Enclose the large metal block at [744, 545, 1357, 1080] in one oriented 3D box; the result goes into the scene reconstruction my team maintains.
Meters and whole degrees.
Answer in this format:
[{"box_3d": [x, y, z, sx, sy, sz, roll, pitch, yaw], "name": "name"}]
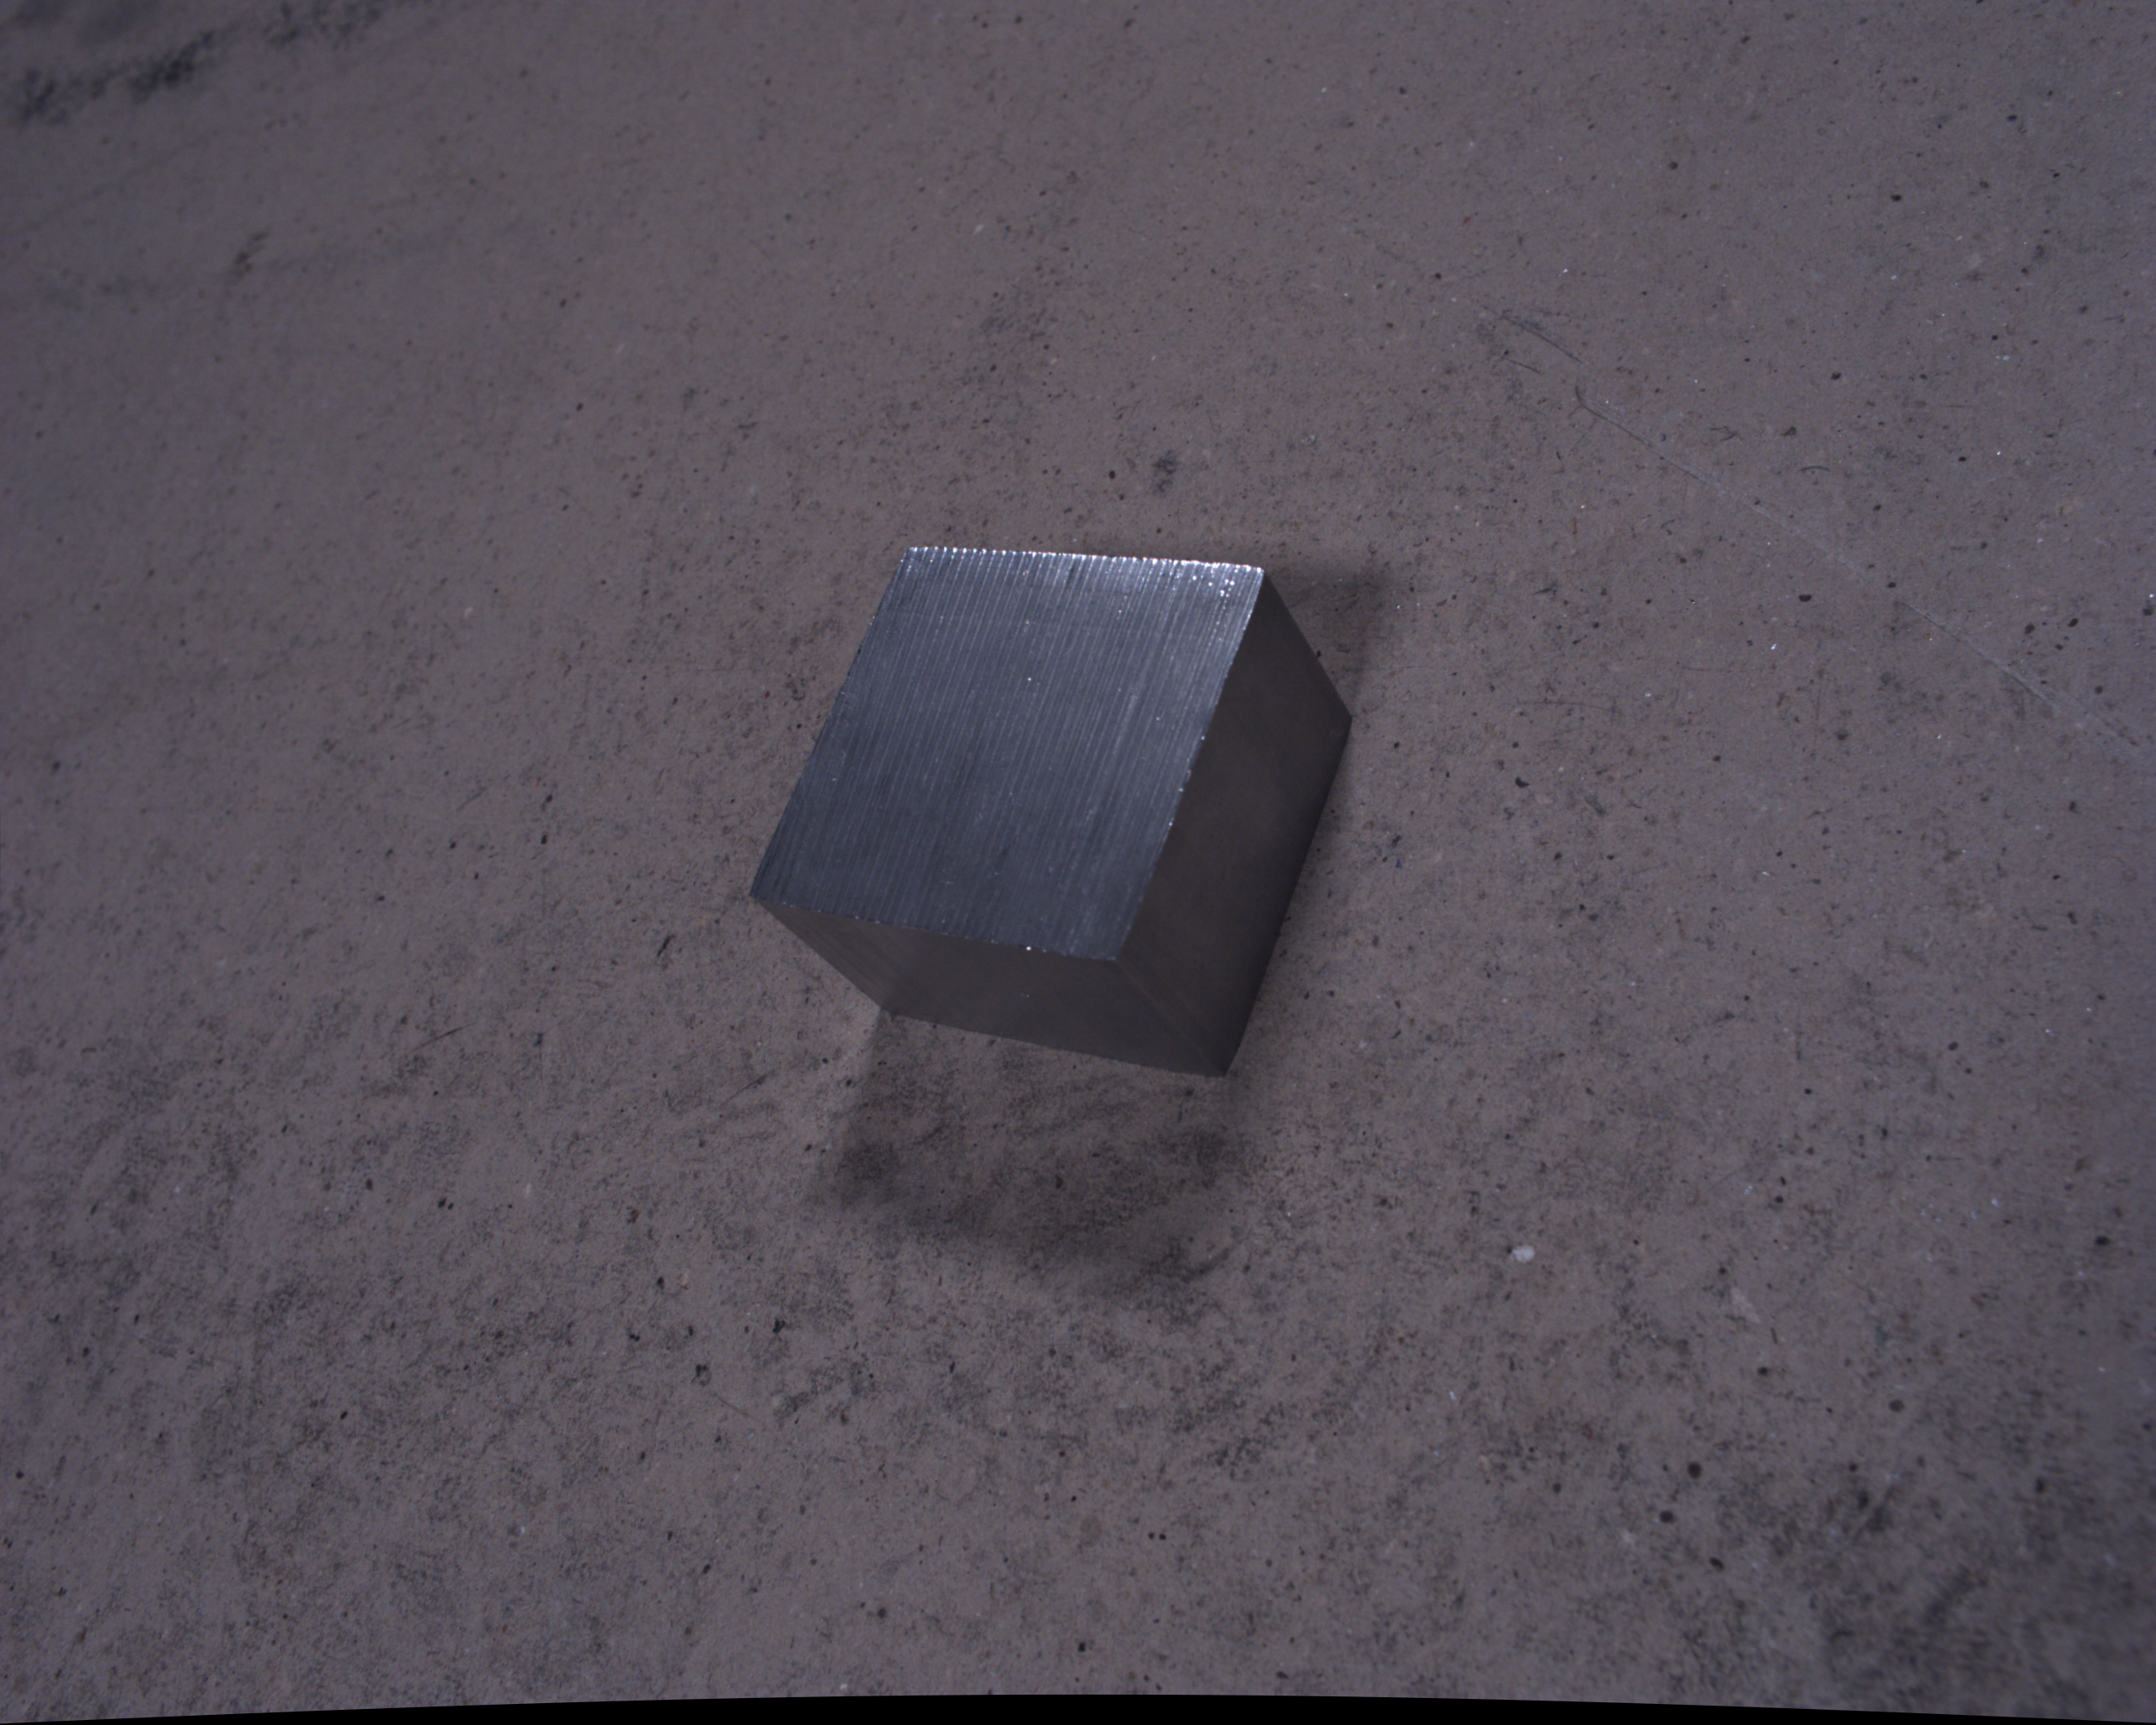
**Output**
[{"box_3d": [-0.003, -0.011, 0.397, 0.080, 0.050, 0.080, 8, 66, 31], "name": "large metal block"}]
